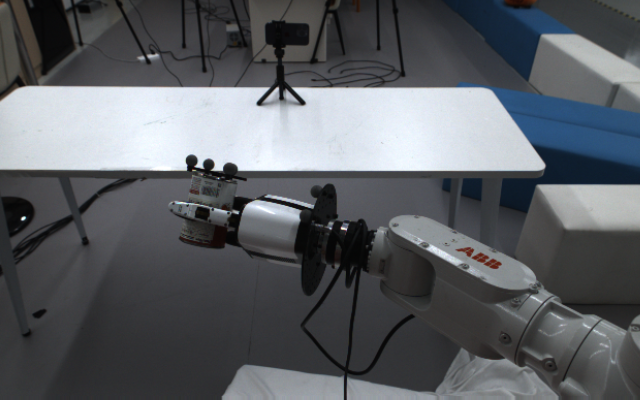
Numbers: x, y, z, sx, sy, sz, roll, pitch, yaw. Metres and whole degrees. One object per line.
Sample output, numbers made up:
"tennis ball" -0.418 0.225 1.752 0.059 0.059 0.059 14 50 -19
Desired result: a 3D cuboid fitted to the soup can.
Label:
"soup can" -0.164 0.017 0.712 0.067 0.101 0.067 12 0 0
